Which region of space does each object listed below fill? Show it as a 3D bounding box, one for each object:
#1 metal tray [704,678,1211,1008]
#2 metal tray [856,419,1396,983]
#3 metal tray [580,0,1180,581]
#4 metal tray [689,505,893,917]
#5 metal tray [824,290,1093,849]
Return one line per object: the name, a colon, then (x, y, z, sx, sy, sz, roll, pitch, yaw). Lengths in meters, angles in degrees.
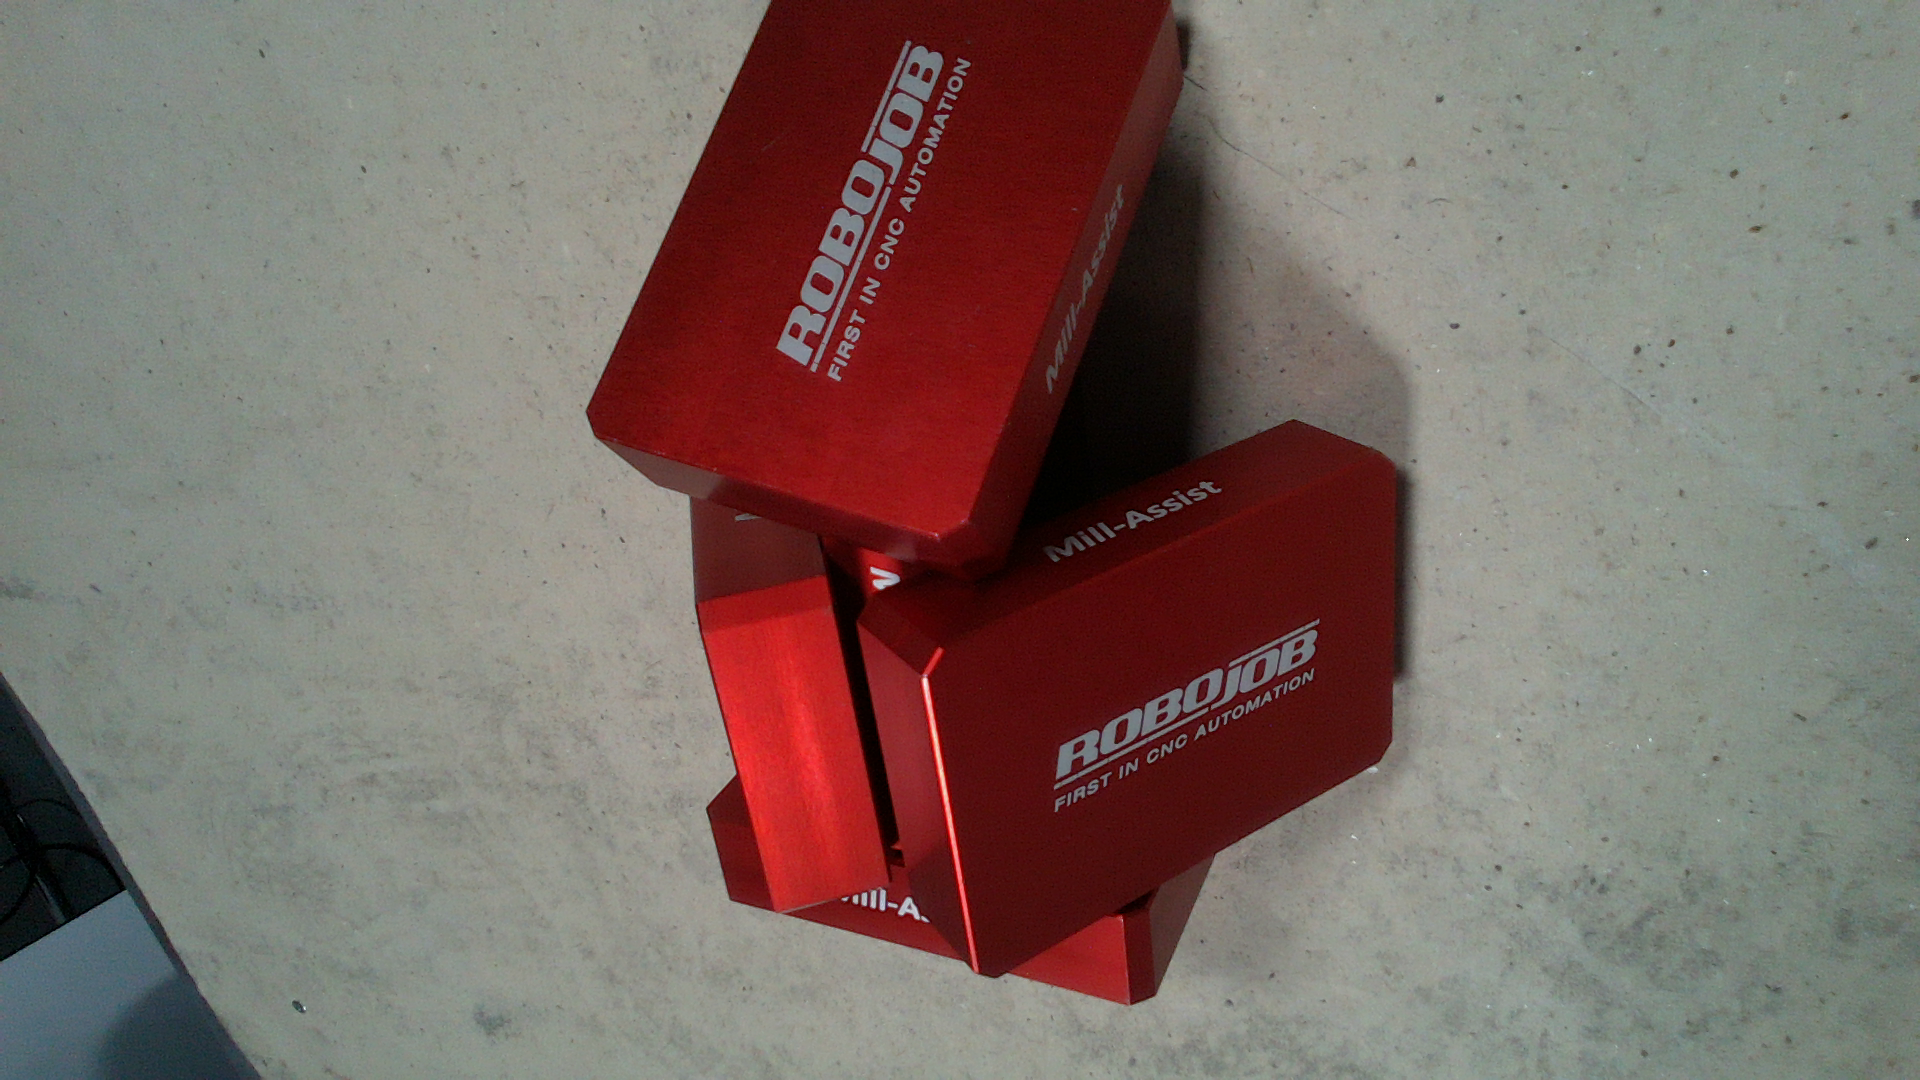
metal tray: (0.005, 0.076, 0.394, 0.130, 0.090, 0.030, 7, 122, 25)
metal tray: (0.046, 0.035, 0.326, 0.030, 0.130, 0.090, 33, 139, 51)
metal tray: (-0.015, -0.066, 0.301, 0.090, 0.130, 0.030, 16, 166, 19)
metal tray: (-0.049, 0.024, 0.371, 0.030, 0.130, 0.090, -12, 118, -6)
metal tray: (0.004, 0.006, 0.352, 0.030, 0.090, 0.130, 7, 122, 25)
